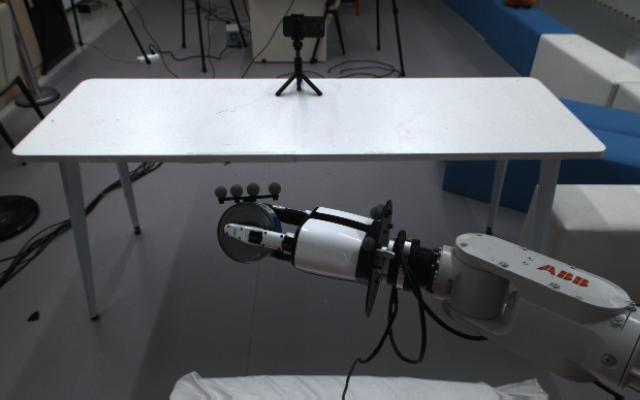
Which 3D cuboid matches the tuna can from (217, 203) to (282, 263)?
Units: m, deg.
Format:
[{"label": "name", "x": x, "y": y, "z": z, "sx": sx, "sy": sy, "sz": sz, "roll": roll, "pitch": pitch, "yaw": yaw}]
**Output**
[{"label": "tuna can", "x": -0.093, "y": 0.045, "z": 0.681, "sx": 0.085, "sy": 0.085, "sz": 0.034, "roll": 10, "pitch": 3, "yaw": 11}]
